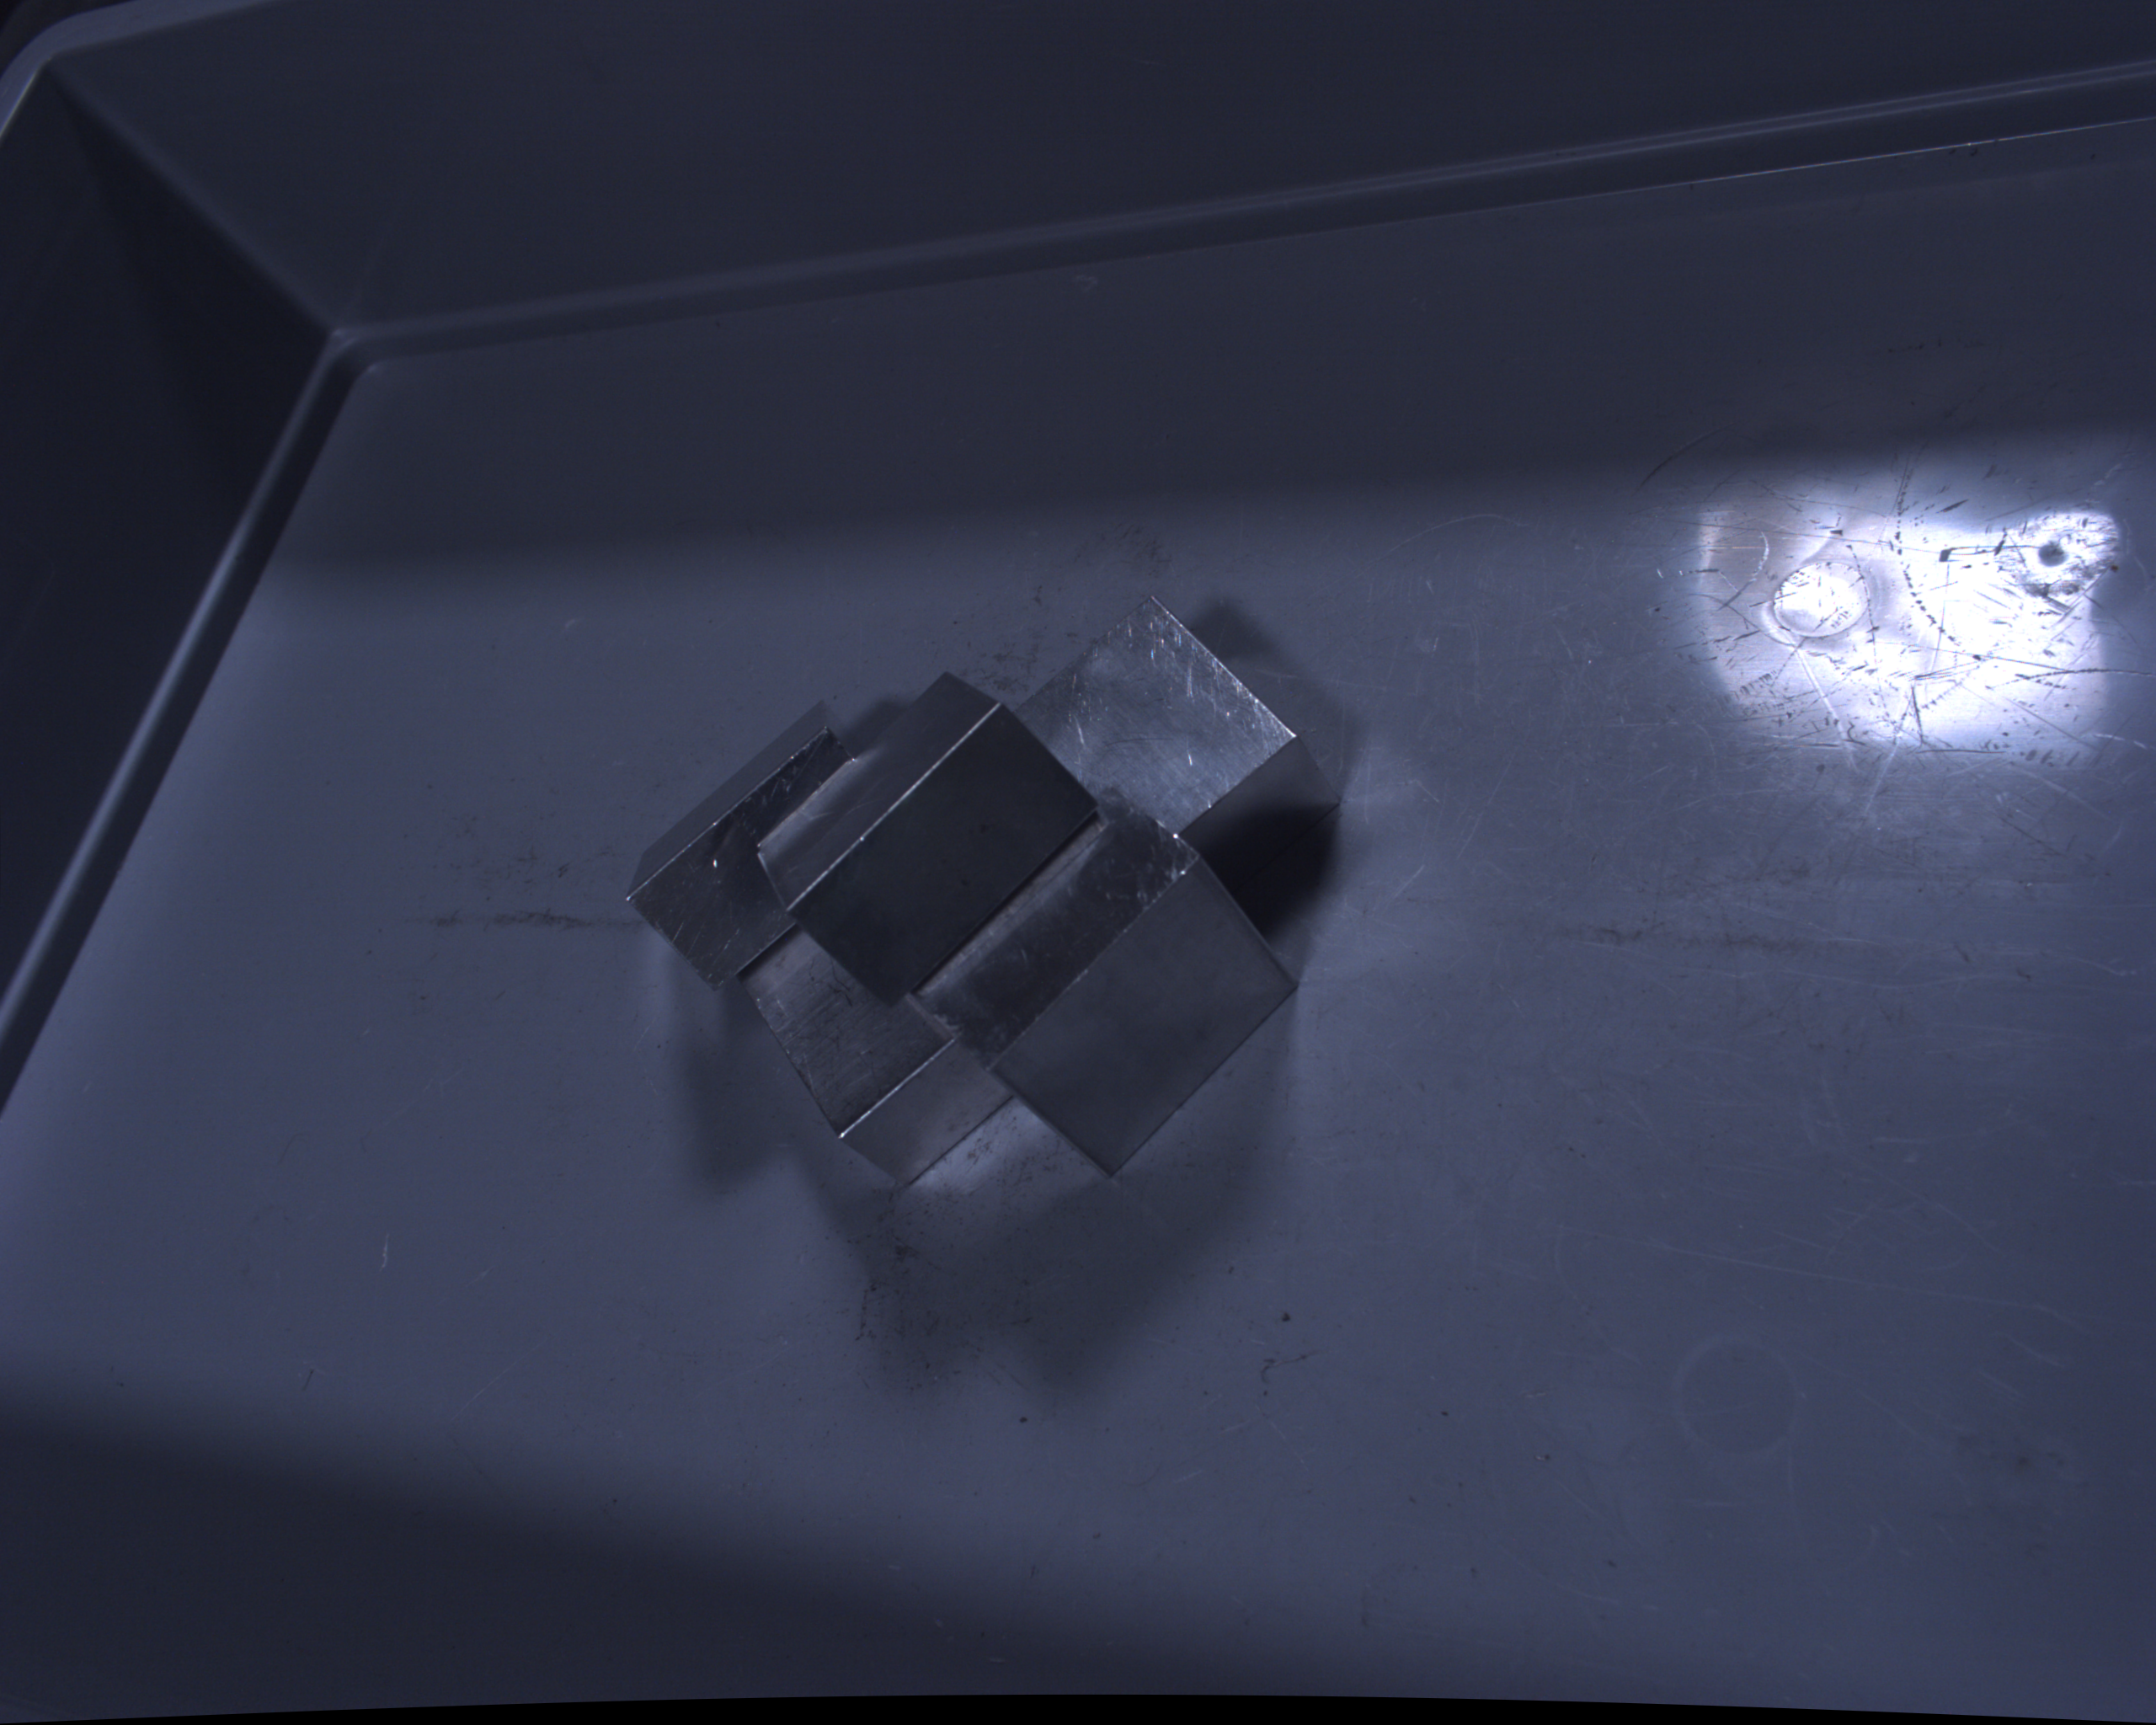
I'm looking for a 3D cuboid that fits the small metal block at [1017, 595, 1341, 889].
[{"bbox_3d":[0.013,-0.016,0.405,0.050,0.025,0.050,-41,51,0],"label":"small metal block"}]

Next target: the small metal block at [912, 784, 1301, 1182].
[{"bbox_3d":[0.006,0.022,0.370,0.050,0.050,0.025,-46,51,-4],"label":"small metal block"}]

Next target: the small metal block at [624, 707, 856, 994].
[{"bbox_3d":[-0.062,-0.004,0.422,0.050,0.025,0.050,-41,13,0],"label":"small metal block"}]

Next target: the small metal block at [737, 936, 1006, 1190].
[{"bbox_3d":[-0.032,0.026,0.403,0.050,0.025,0.050,-41,51,0],"label":"small metal block"}]

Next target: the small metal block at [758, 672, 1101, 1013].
[{"bbox_3d":[-0.028,-0.005,0.373,0.050,0.025,0.050,-44,18,-3],"label":"small metal block"}]
